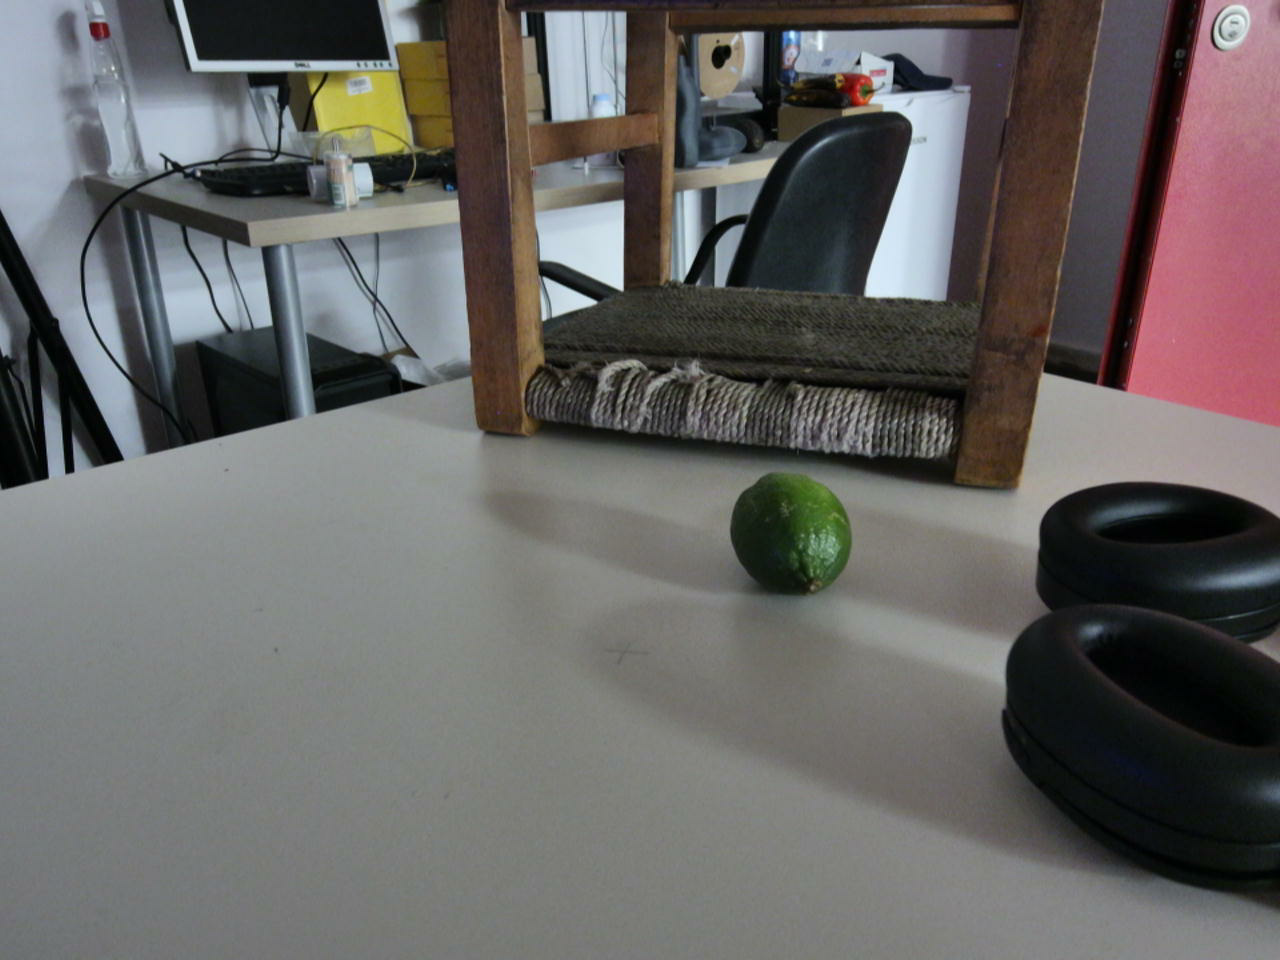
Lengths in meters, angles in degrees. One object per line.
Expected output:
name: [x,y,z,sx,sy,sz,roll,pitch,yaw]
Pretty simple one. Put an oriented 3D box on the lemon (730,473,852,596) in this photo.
lemon: [0.067,0.023,0.443,0.054,0.051,0.057,-19,29,-39]
